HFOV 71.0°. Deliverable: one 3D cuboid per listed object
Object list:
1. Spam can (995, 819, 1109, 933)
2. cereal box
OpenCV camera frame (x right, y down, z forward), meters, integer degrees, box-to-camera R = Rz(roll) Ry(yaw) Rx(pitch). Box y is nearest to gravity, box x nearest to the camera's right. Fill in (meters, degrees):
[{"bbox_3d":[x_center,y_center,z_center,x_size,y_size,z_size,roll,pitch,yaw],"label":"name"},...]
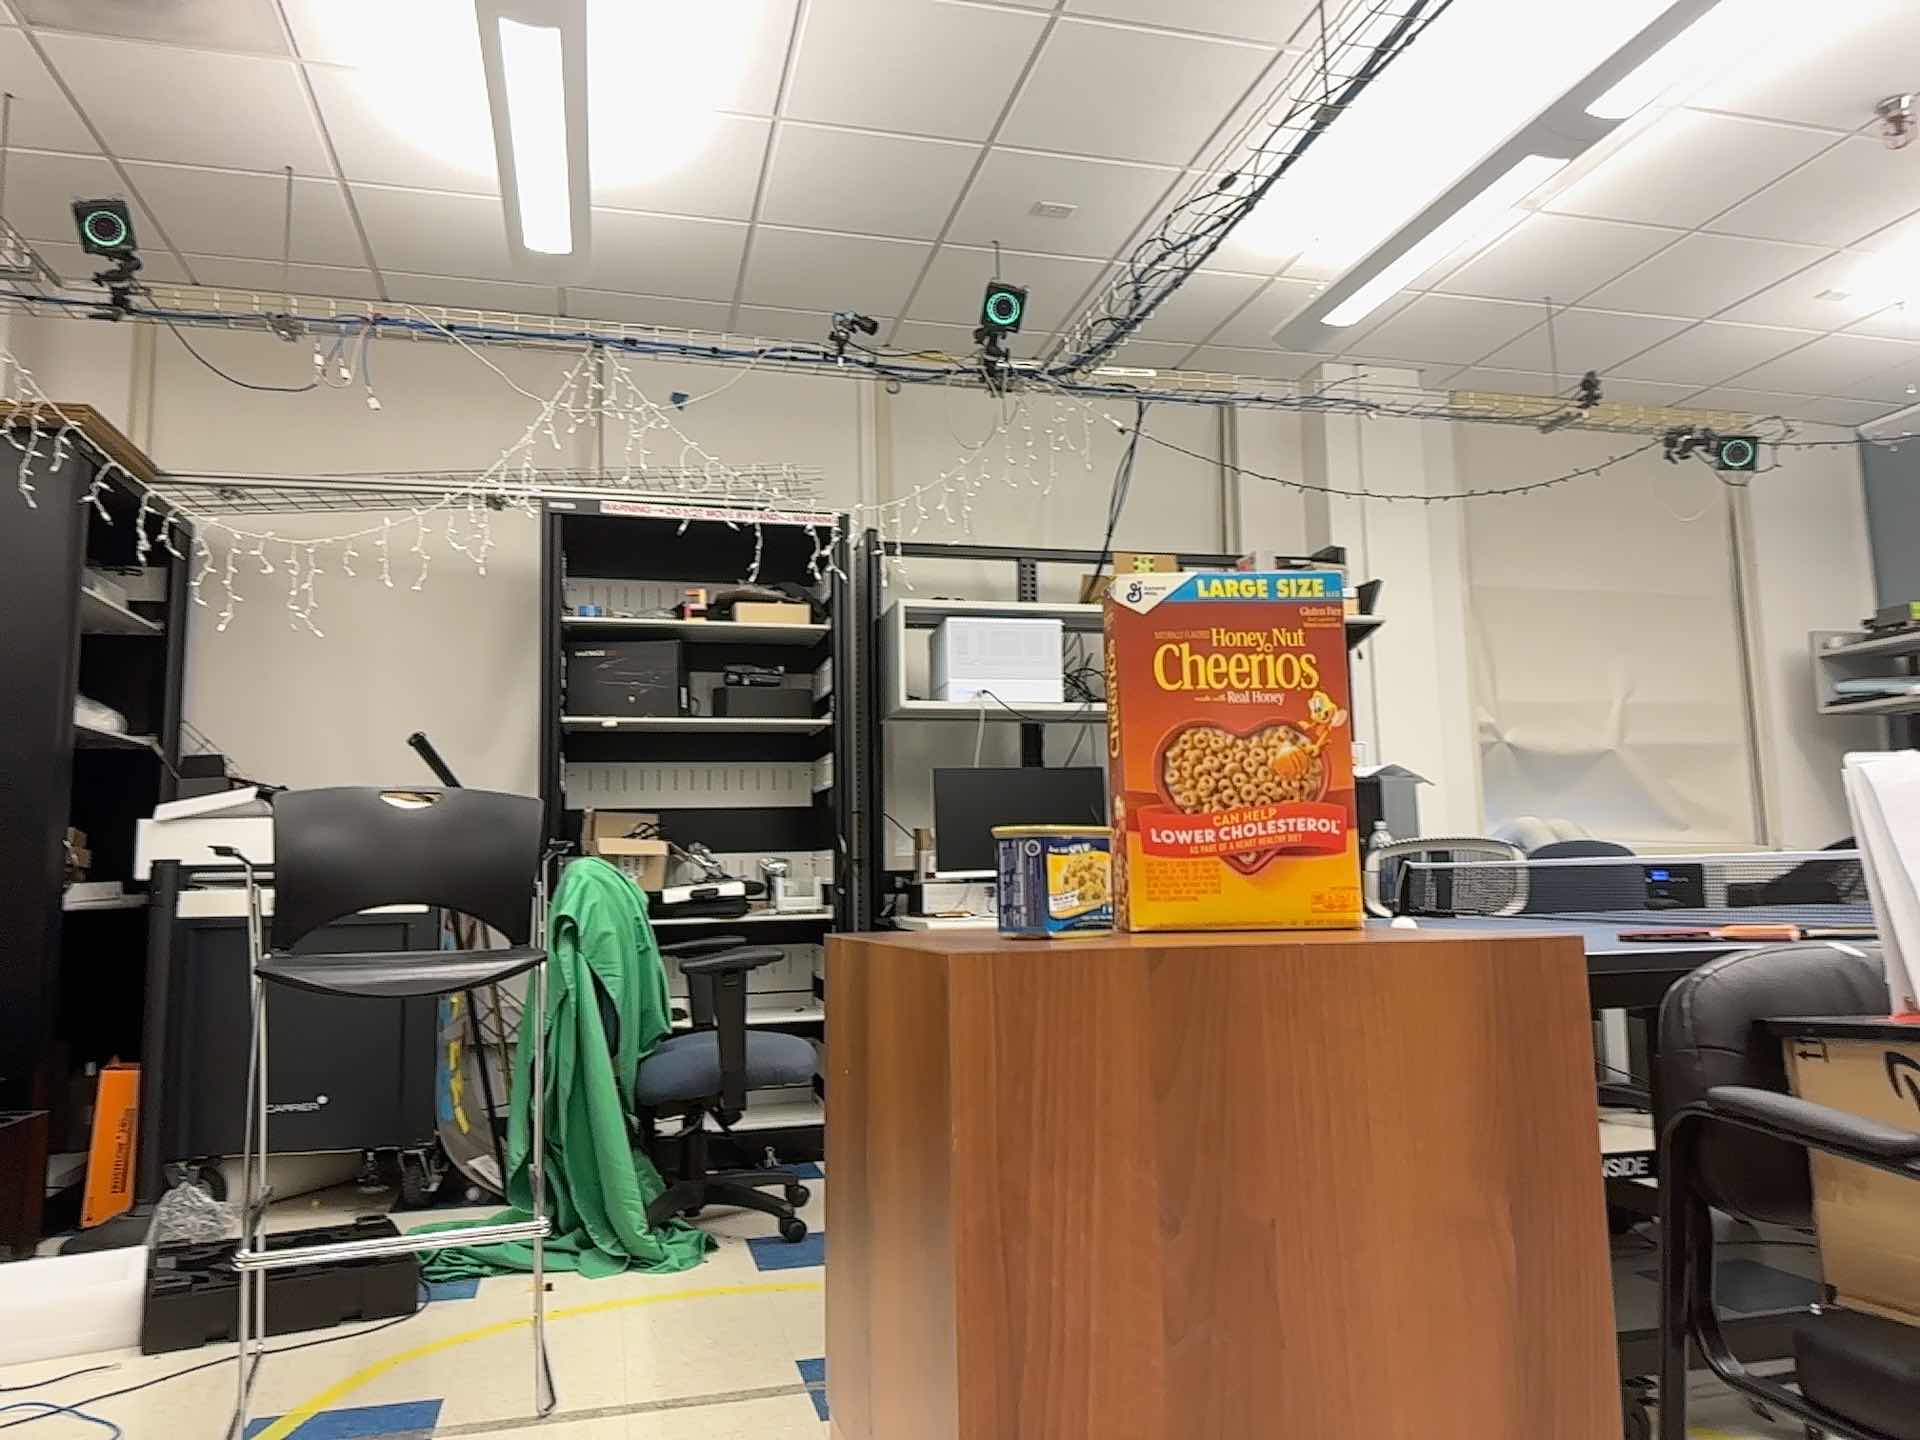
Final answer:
[{"bbox_3d":[0.073,0.122,1.047,0.056,0.083,0.100,-7,-10,37],"label":"Spam can"},{"bbox_3d":[0.234,0.026,1.174,0.195,0.297,0.065,1,-9,-6],"label":"cereal box"}]
